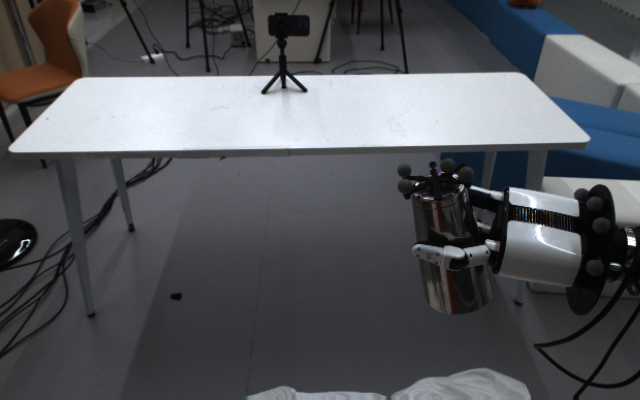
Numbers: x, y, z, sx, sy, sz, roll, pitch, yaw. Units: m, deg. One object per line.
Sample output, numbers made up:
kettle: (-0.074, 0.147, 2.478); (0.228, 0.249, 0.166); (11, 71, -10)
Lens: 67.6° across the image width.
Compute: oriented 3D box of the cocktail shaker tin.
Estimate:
cocktail shaker tin: (0.167, 0.052, 0.624); (0.093, 0.170, 0.093); (-15, 29, 8)
